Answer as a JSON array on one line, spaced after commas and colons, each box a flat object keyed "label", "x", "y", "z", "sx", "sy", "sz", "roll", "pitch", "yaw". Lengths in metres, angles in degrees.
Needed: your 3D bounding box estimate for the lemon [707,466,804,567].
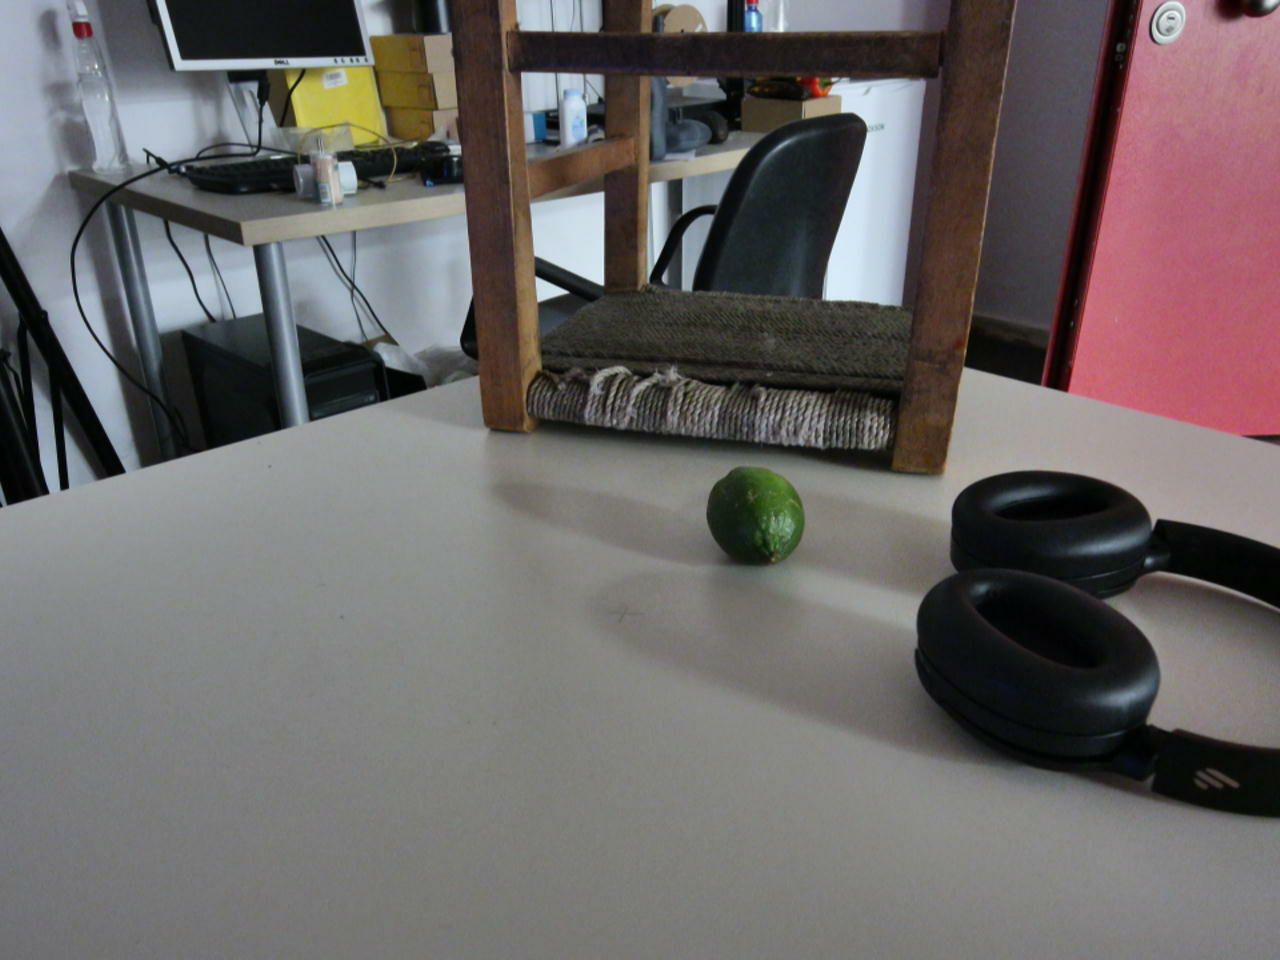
[{"label": "lemon", "x": 0.064, "y": 0.019, "z": 0.545, "sx": 0.057, "sy": 0.051, "sz": 0.054, "roll": 22, "pitch": 32, "yaw": 40}]
